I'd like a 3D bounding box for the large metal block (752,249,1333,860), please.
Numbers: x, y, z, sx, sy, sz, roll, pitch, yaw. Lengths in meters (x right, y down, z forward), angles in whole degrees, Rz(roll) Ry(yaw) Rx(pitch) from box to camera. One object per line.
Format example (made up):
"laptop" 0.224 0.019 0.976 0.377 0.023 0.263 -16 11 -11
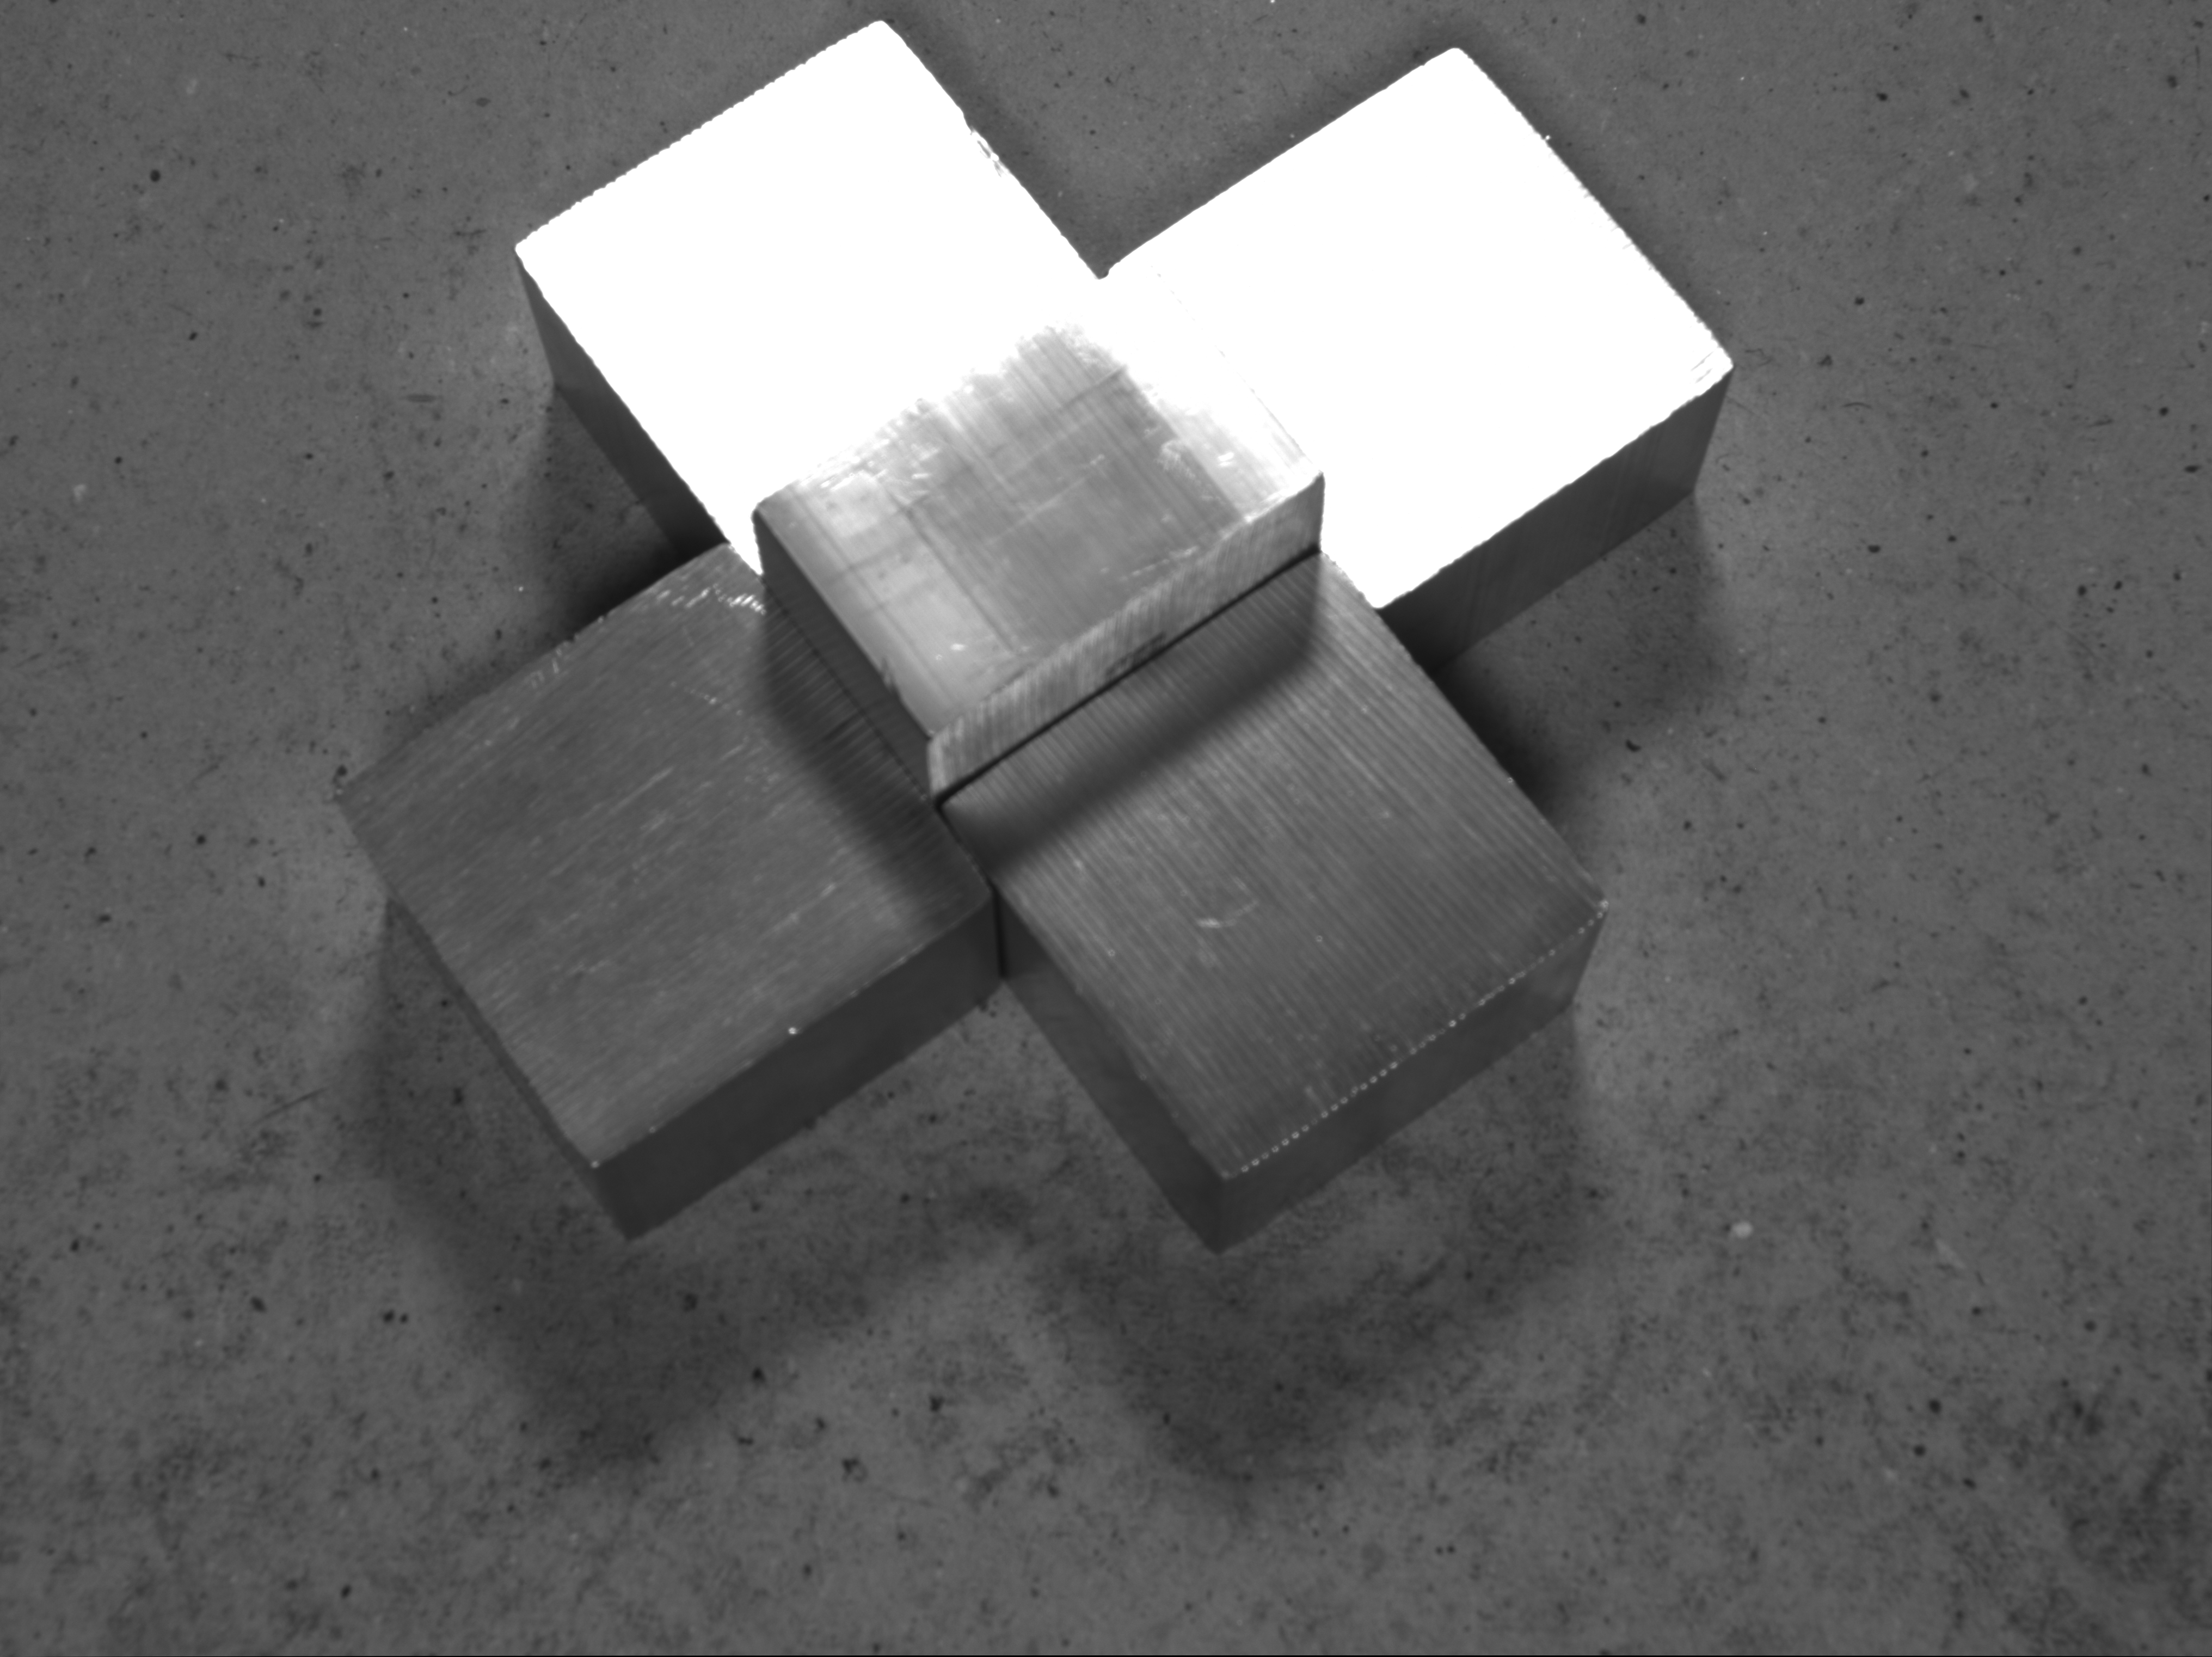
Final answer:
"large metal block" -0.010 -0.041 0.631 0.080 0.080 0.050 -35 73 -12

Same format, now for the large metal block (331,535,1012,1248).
"large metal block" -0.072 0.011 0.627 0.080 0.050 0.080 -35 73 -12

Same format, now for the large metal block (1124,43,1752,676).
"large metal block" 0.056 -0.080 0.660 0.080 0.050 0.080 -35 73 -12

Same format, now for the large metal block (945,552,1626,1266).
"large metal block" 0.029 0.014 0.626 0.080 0.050 0.080 -35 73 -12

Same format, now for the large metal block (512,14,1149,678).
"large metal block" -0.048 -0.085 0.662 0.080 0.050 0.080 -35 73 -12
